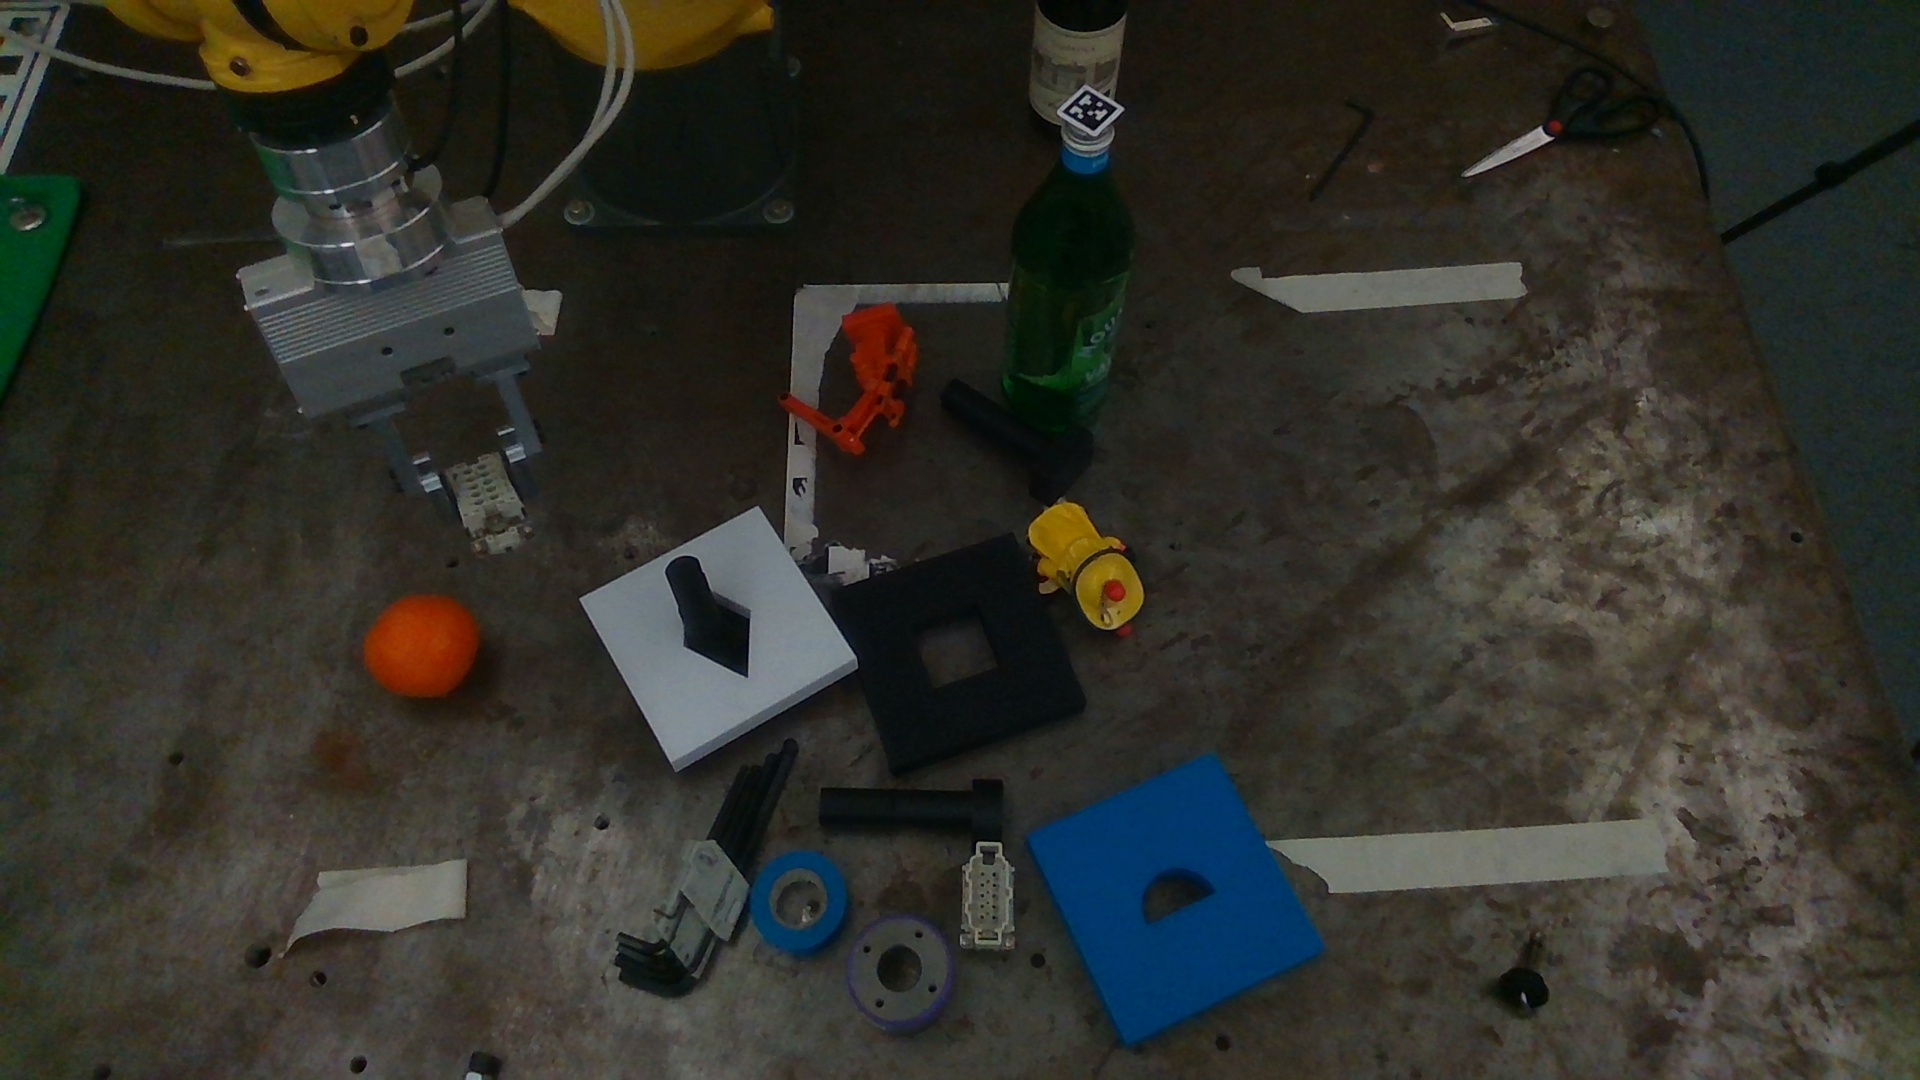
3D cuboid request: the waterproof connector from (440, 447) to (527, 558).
[{"bbox_3d":[-0.279,-0.023,0.815,0.036,0.038,0.069,-22,50,-12],"label":"waterproof connector"}]
